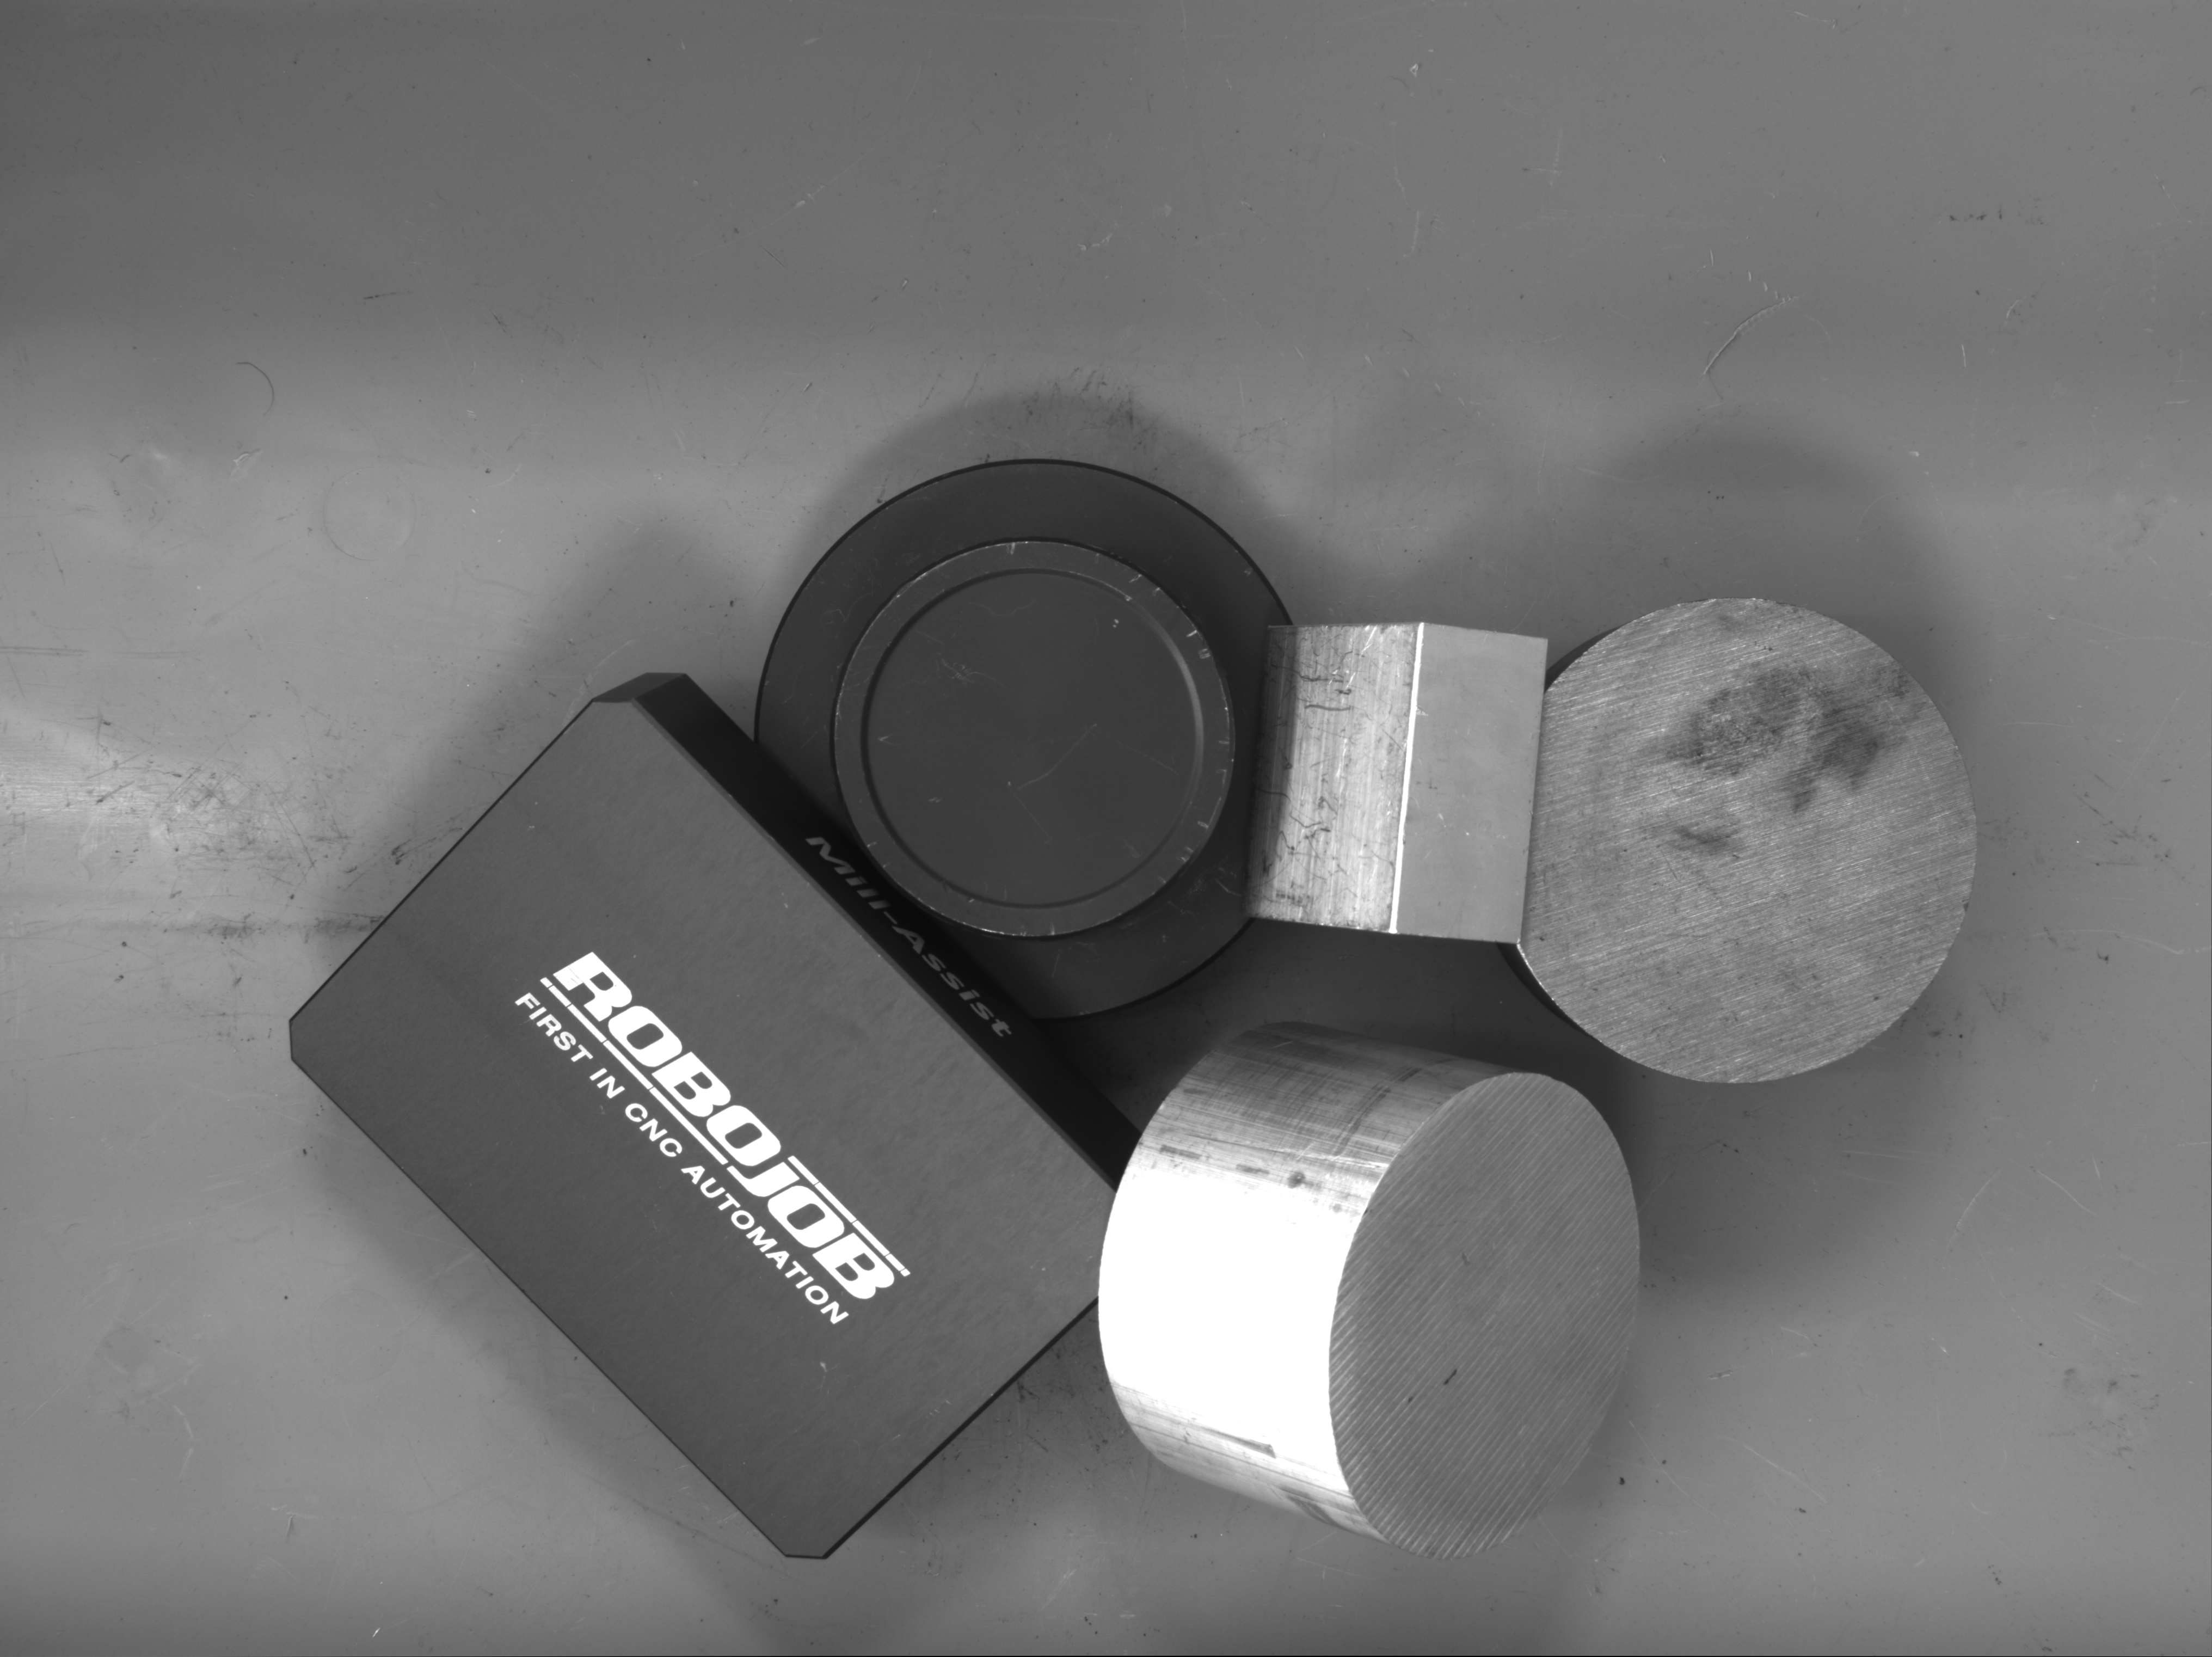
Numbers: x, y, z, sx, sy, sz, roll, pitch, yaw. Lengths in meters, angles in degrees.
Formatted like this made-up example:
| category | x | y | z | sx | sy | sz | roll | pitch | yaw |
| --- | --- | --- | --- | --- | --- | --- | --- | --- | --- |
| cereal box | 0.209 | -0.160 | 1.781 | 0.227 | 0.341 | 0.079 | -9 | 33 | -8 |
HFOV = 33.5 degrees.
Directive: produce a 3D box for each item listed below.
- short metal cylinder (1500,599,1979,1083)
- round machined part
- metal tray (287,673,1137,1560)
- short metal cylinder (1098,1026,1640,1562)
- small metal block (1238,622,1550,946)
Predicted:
| category | x | y | z | sx | sy | sz | roll | pitch | yaw |
| --- | --- | --- | --- | --- | --- | --- | --- | --- | --- |
| short metal cylinder | 0.105 | 0.002 | 0.632 | 0.080 | 0.050 | 0.080 | 0 | 90 | 0 |
| round machined part | -0.012 | -0.015 | 0.636 | 0.098 | 0.042 | 0.098 | 0 | 90 | 0 |
| metal tray | -0.064 | 0.049 | 0.631 | 0.130 | 0.030 | 0.090 | 45 | 105 | 0 |
| short metal cylinder | 0.045 | 0.076 | 0.611 | 0.050 | 0.080 | 0.080 | 10 | 90 | 44 |
| small metal block | 0.047 | -0.008 | 0.614 | 0.025 | 0.050 | 0.050 | 6 | 89 | -28 |
